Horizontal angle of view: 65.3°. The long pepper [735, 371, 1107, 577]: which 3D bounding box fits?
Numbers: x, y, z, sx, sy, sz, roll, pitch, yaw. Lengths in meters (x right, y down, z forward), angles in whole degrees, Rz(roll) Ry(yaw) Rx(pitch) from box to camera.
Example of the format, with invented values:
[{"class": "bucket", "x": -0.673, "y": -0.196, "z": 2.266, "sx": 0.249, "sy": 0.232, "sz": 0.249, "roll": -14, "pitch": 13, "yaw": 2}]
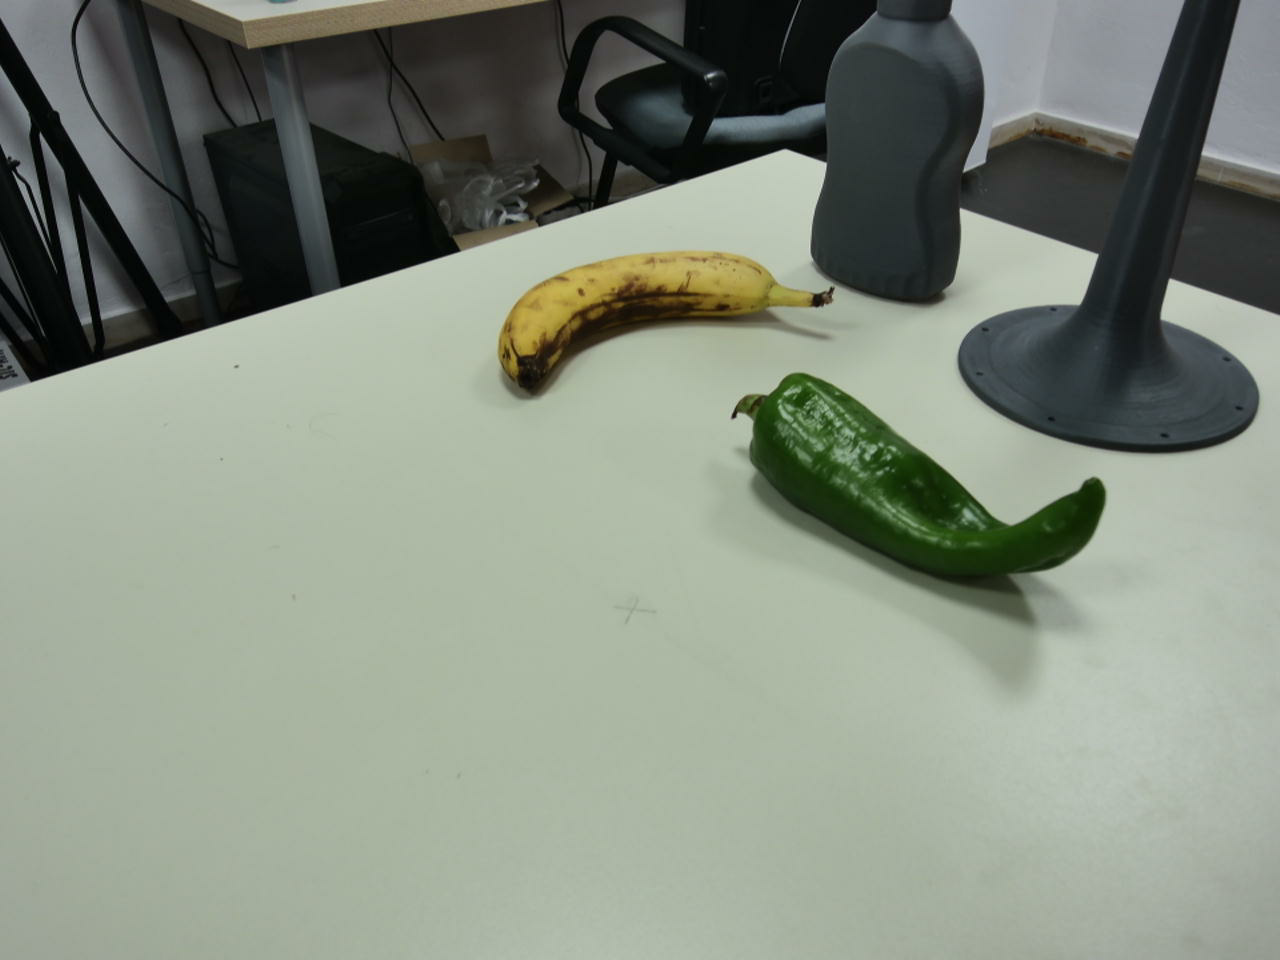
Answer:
[{"class": "long pepper", "x": 0.105, "y": -0.006, "z": 0.425, "sx": 0.058, "sy": 0.065, "sz": 0.175, "roll": -25, "pitch": 42, "yaw": -31}]
